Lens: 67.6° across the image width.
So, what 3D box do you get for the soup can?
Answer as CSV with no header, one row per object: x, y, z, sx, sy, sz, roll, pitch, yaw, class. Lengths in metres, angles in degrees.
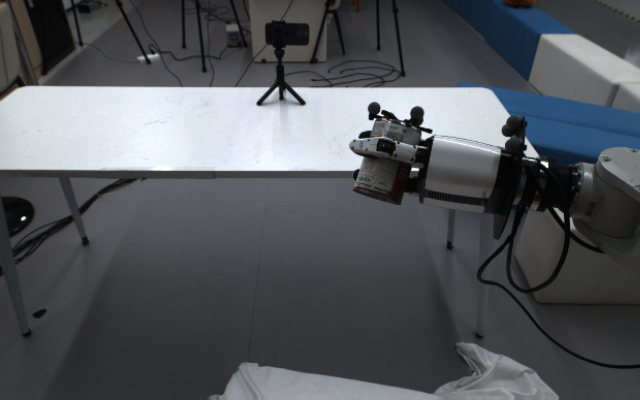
0.092,-0.051,0.654,0.067,0.101,0.067,17,-1,0,soup can
